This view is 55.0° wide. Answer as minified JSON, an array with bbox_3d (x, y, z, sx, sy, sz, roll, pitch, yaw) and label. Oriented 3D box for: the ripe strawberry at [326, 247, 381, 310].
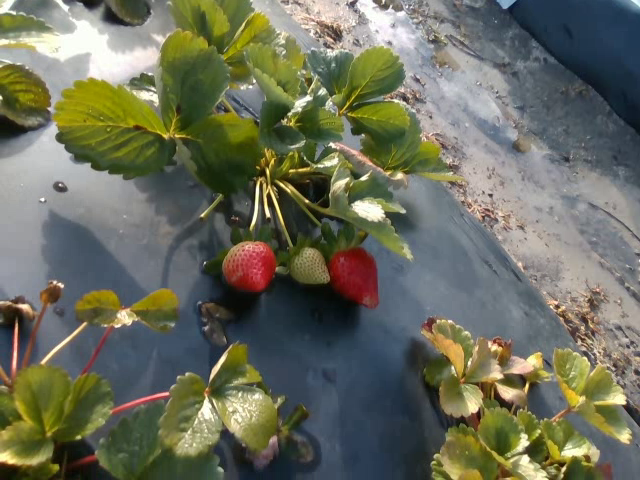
[{"bbox_3d":[0.031,0.034,0.506,0.049,0.064,0.050,-23,-21,3],"label":"ripe strawberry"}]
